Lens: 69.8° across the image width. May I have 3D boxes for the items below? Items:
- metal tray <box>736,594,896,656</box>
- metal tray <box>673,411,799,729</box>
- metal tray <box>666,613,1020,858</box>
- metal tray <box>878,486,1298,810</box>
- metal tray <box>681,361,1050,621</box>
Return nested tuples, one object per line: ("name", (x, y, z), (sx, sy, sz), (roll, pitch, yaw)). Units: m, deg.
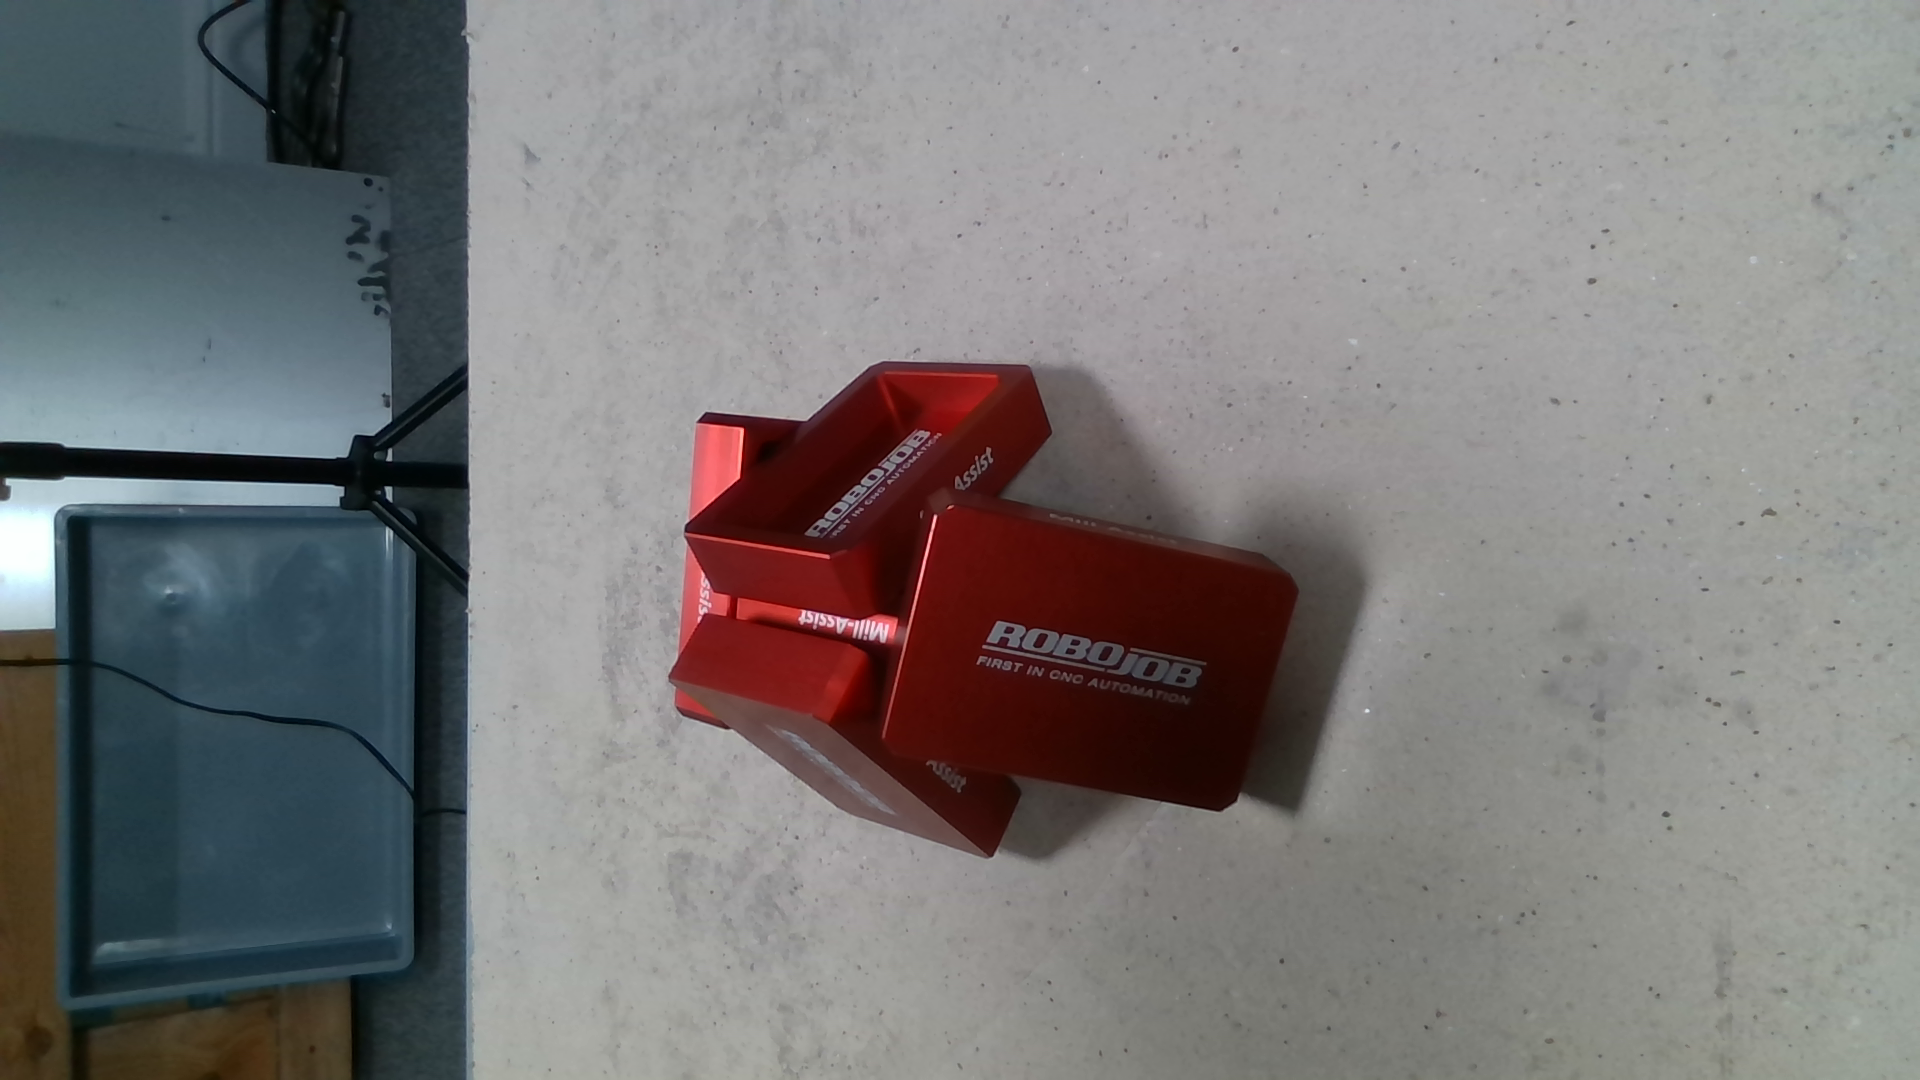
("metal tray", (-0.016, 0.031, 0.553), (0.130, 0.090, 0.030), (9, 96, 40))
("metal tray", (-0.077, 0.012, 0.604), (0.030, 0.090, 0.130), (9, 96, 40))
("metal tray", (-0.045, 0.080, 0.556), (0.090, 0.130, 0.030), (8, 62, 40))
("metal tray", (0.043, 0.039, 0.486), (0.030, 0.130, 0.090), (-118, 41, -75))
("metal tray", (-0.036, -0.025, 0.549), (0.090, 0.130, 0.030), (8, 132, 40))
